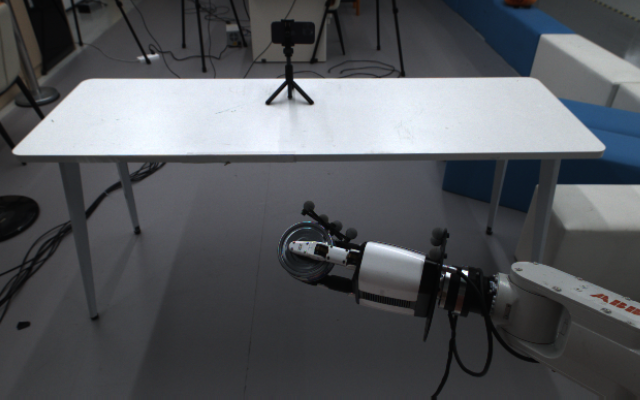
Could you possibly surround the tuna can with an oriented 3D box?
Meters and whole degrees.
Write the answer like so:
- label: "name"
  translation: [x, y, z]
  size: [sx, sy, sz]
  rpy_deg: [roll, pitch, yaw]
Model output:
- label: "tuna can"
  translation: [-0.017, 0.075, 0.714]
  size: [0.085, 0.034, 0.085]
  rpy_deg: [-4, 69, 10]
